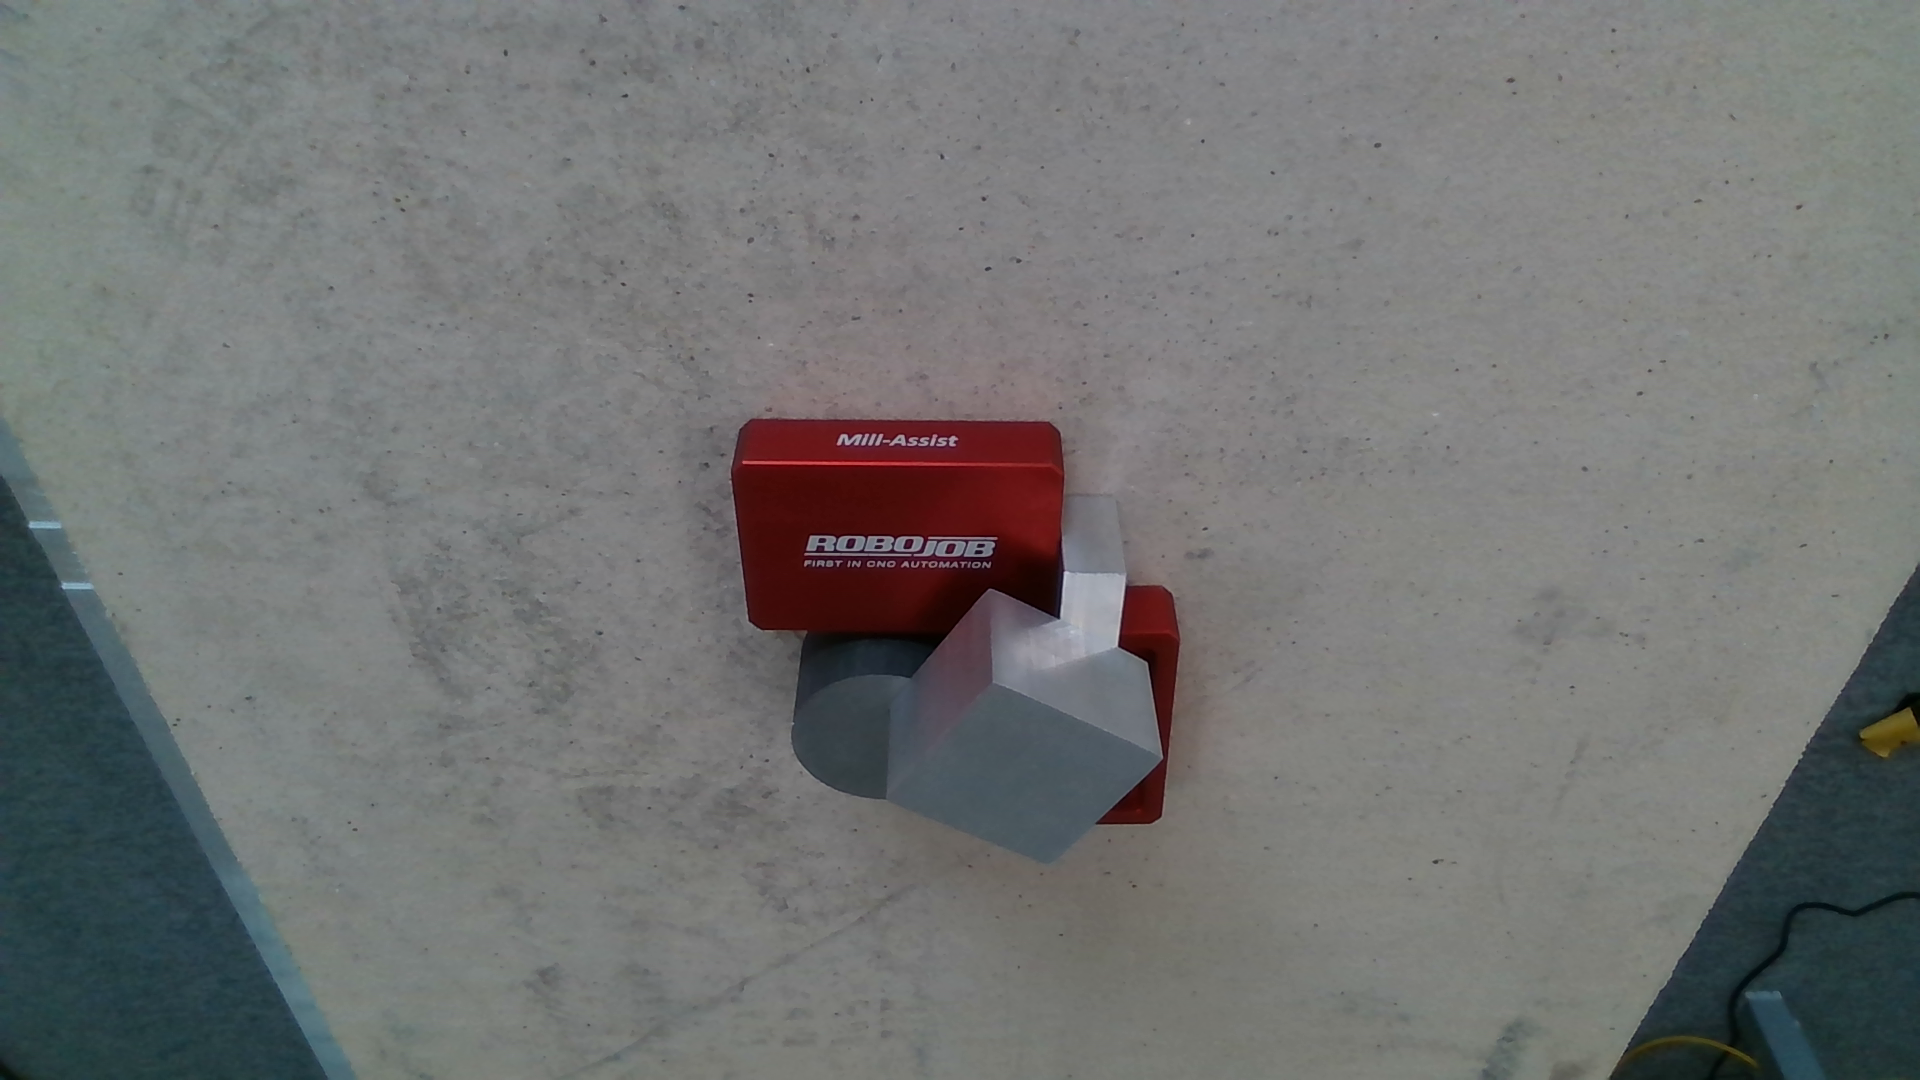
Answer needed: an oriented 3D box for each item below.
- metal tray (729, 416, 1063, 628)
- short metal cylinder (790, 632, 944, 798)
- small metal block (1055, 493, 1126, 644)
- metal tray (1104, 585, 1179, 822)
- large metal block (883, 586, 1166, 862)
[{"bbox_3d":[-0.025,-0.006,0.573,0.130,0.030,0.090,1,130,0],"label":"metal tray"},{"bbox_3d":[-0.034,0.071,0.623,0.080,0.050,0.080,0,129,0],"label":"short metal cylinder"},{"bbox_3d":[0.053,0.015,0.577,0.025,0.050,0.050,1,130,0],"label":"small metal block"},{"bbox_3d":[0.051,0.080,0.644,0.090,0.030,0.130,-1,130,1],"label":"metal tray"},{"bbox_3d":[0.025,0.077,0.561,0.080,0.050,0.080,26,125,-20],"label":"large metal block"}]
